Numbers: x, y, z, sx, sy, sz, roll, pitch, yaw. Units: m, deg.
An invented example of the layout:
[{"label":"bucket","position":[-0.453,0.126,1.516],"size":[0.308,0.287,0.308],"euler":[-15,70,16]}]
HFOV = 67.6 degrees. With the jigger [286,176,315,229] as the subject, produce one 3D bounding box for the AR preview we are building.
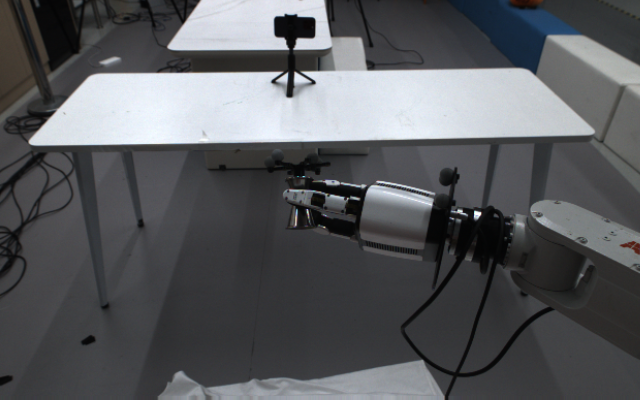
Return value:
[{"label":"jigger","position":[-0.027,0.004,0.656],"size":[0.043,0.071,0.043],"euler":[-2,-7,0]}]
